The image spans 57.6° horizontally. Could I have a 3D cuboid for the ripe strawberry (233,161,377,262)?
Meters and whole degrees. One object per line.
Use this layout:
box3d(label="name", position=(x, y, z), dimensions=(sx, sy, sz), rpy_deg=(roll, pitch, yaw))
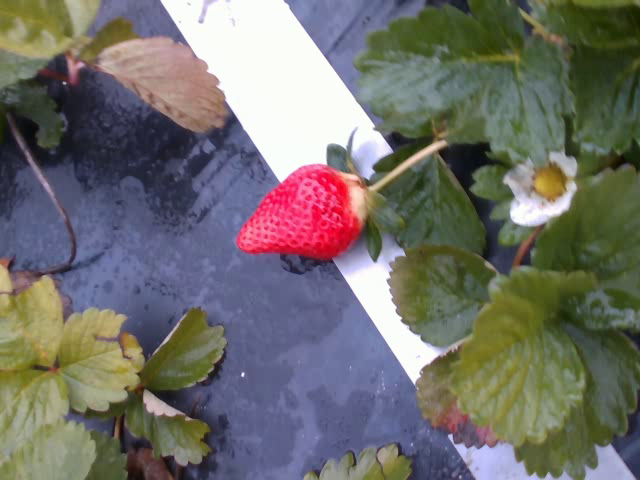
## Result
box3d(label="ripe strawberry", position=(-0.009, -0.008, 0.214), dimensions=(0.051, 0.042, 0.038), rpy_deg=(-23, 17, 1))
